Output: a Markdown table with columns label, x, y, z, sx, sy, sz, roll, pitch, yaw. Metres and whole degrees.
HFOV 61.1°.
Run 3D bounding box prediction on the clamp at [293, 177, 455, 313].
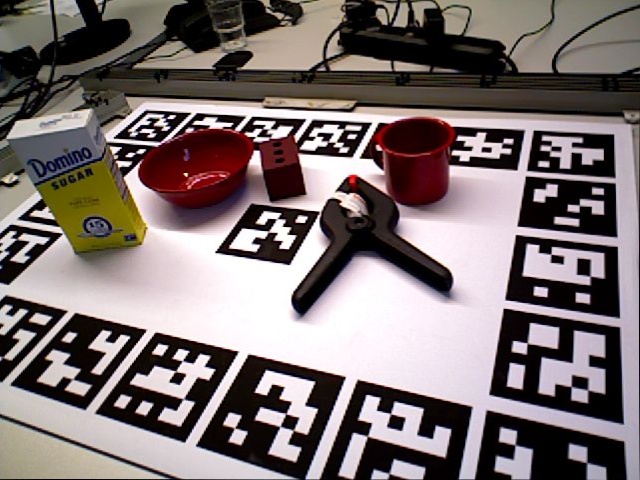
| label | x | y | z | sx | sy | sz | roll | pitch | yaw |
| --- | --- | --- | --- | --- | --- | --- | --- | --- | --- |
| clamp | 0.047 | -0.011 | 0.612 | 0.165 | 0.037 | 0.199 | -11 | 43 | 4 |

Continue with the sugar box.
| label | x | y | z | sx | sy | sz | roll | pitch | yaw |
| --- | --- | --- | --- | --- | --- | --- | --- | --- | --- |
| sugar box | -0.287 | -0.059 | 0.645 | 0.092 | 0.180 | 0.044 | -9 | 44 | 0 |

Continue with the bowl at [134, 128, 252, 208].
| label | x | y | z | sx | sy | sz | roll | pitch | yaw |
| --- | --- | --- | --- | --- | --- | --- | --- | --- | --- |
| bowl | -0.168 | -0.093 | 0.746 | 0.161 | 0.056 | 0.159 | -6 | 43 | 5 |

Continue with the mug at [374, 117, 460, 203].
| label | x | y | z | sx | sy | sz | roll | pitch | yaw |
| --- | --- | --- | --- | --- | --- | --- | --- | --- | --- |
| mug | 0.115 | -0.106 | 0.671 | 0.117 | 0.083 | 0.091 | 32 | 57 | 33 |

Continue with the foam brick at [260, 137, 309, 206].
| label | x | y | z | sx | sy | sz | roll | pitch | yaw |
| --- | --- | --- | --- | --- | --- | --- | --- | --- | --- |
| foam brick | -0.049 | -0.092 | 0.729 | 0.052 | 0.052 | 0.077 | -12 | 43 | 0 |
